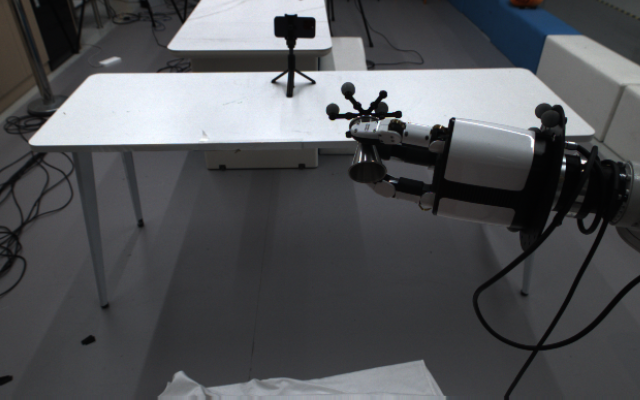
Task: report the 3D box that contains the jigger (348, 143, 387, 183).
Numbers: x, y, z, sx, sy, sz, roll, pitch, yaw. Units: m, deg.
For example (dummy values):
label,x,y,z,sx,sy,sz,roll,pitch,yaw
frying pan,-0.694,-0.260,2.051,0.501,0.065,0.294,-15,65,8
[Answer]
label,x,y,z,sx,sy,sz,roll,pitch,yaw
jigger,0.054,-0.062,0.561,0.043,0.043,0.071,2,59,-1
